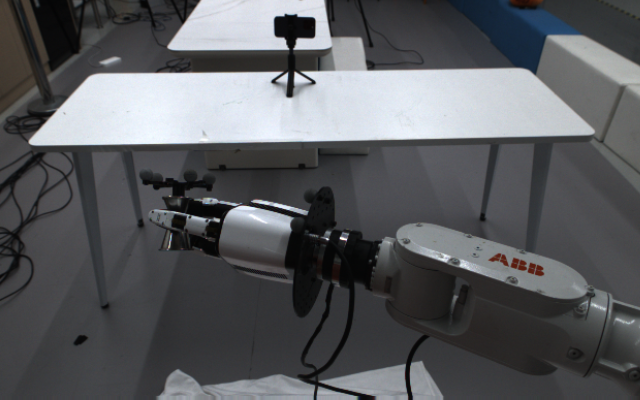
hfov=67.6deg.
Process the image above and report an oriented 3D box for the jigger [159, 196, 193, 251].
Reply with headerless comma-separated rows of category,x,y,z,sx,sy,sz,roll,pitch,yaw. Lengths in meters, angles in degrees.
jigger,-0.183,0.031,0.620,0.043,0.071,0.043,0,-5,0
